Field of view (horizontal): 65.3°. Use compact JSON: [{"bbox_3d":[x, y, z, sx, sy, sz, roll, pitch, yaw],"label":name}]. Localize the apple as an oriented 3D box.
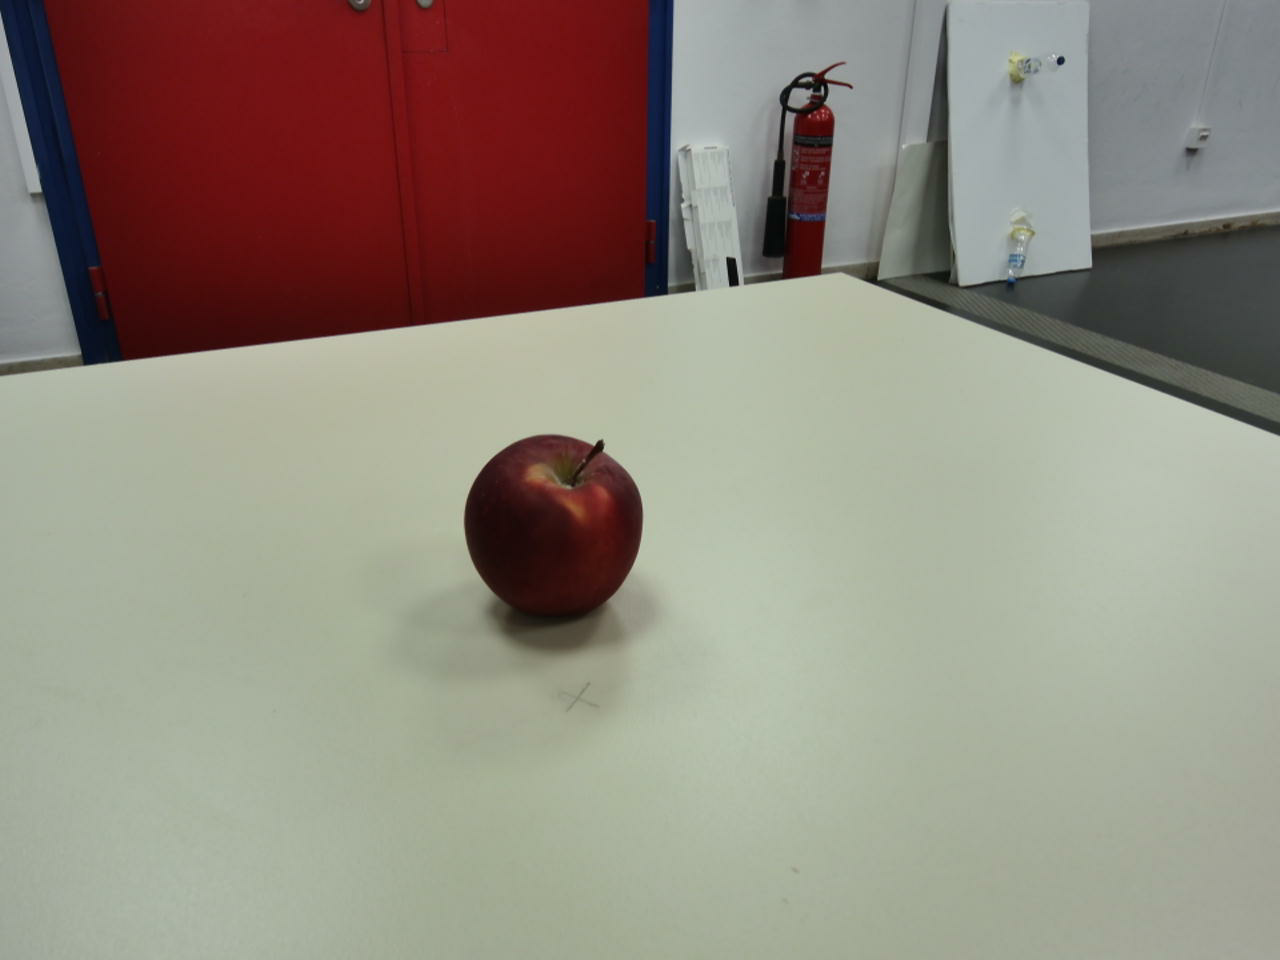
[{"bbox_3d":[-0.033,0.018,0.390,0.070,0.072,0.070,0,24,0],"label":"apple"}]
